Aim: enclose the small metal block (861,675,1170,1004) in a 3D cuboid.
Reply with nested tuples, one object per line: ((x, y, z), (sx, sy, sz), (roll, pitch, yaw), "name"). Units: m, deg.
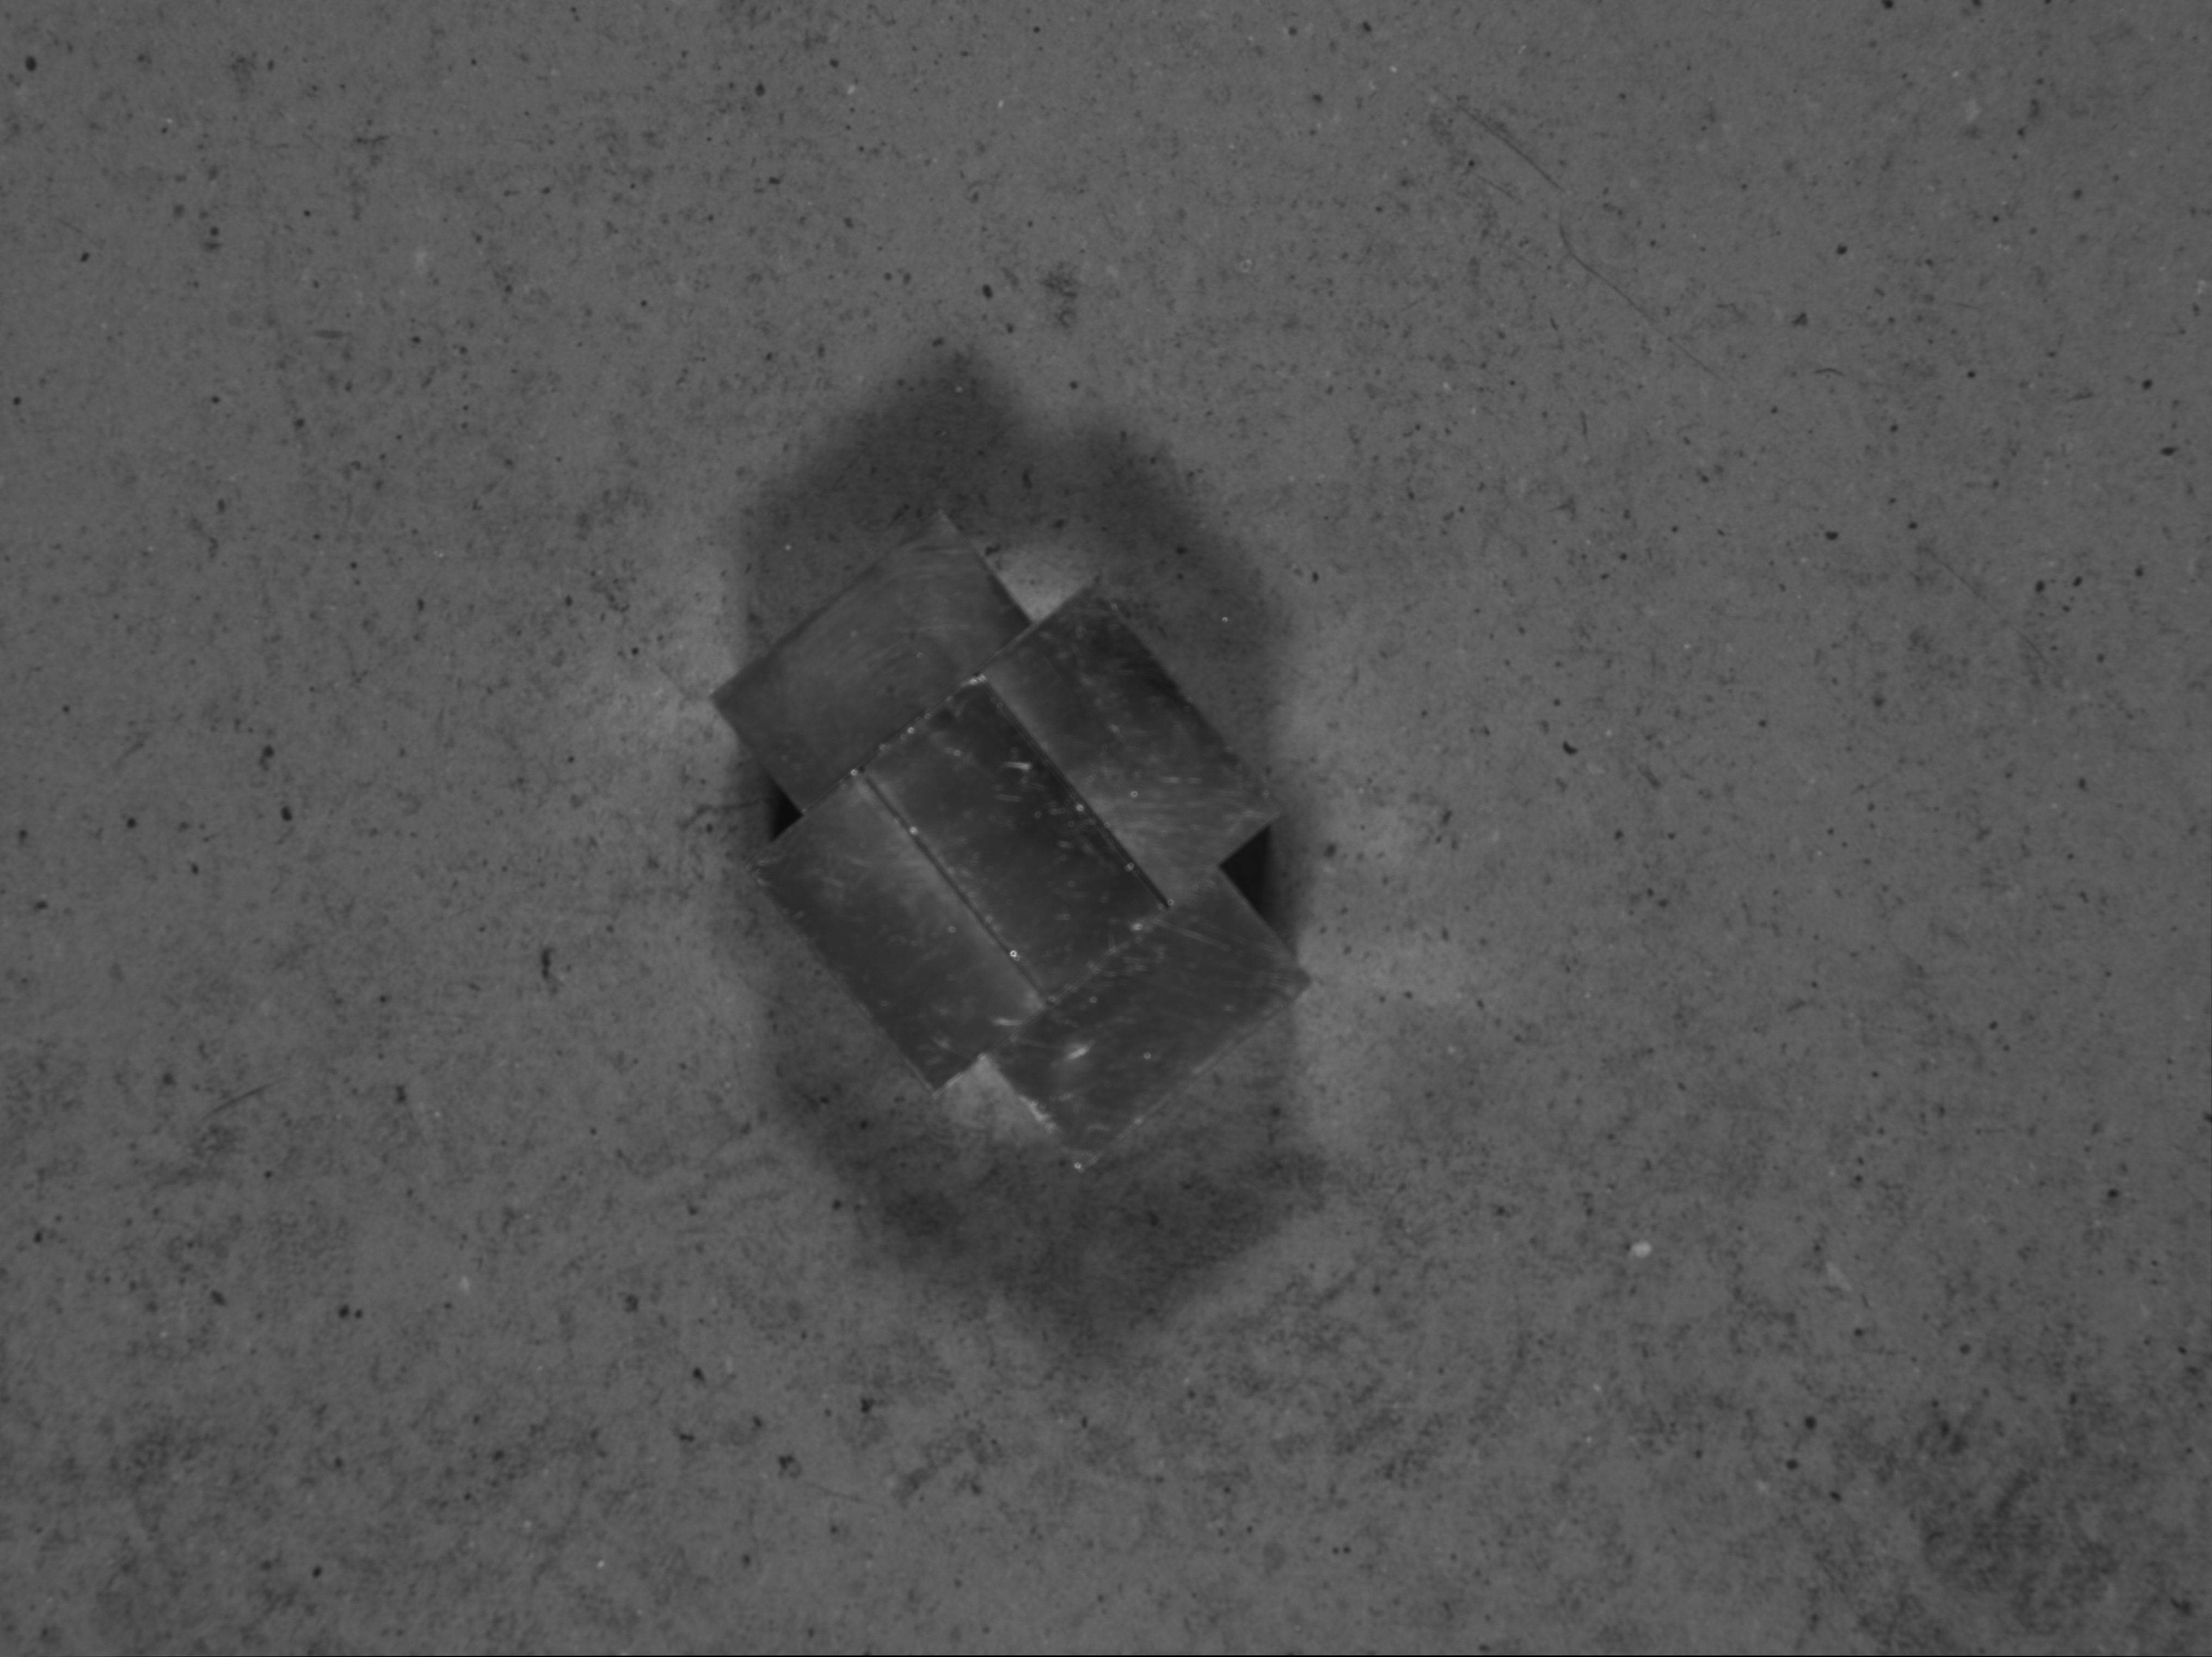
((-0.015, 0.002, 0.632), (0.025, 0.050, 0.050), (-40, 90, 0), "small metal block")

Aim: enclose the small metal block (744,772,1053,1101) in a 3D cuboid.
((-0.034, 0.018, 0.632), (0.025, 0.050, 0.050), (-40, 90, 0), "small metal block")

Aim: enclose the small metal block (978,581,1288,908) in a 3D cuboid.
((0.004, -0.014, 0.632), (0.025, 0.050, 0.050), (-41, 90, 0), "small metal block")

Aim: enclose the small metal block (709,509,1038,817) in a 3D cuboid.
((-0.039, -0.027, 0.632), (0.050, 0.050, 0.025), (-39, 90, 0), "small metal block")

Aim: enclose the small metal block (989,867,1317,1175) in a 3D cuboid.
((0.008, 0.032, 0.632), (0.050, 0.050, 0.025), (-39, 90, 0), "small metal block")
